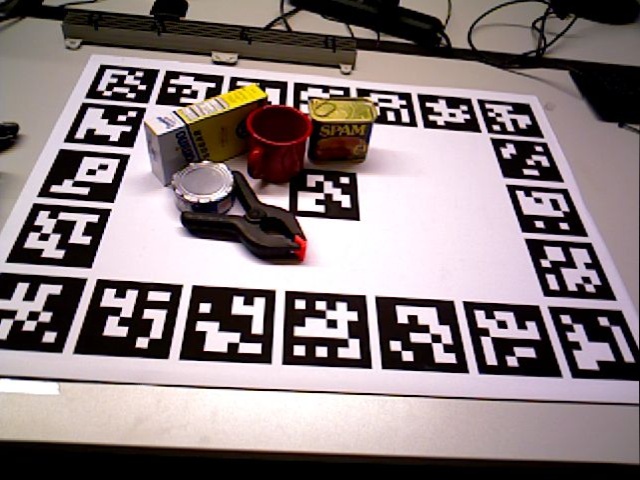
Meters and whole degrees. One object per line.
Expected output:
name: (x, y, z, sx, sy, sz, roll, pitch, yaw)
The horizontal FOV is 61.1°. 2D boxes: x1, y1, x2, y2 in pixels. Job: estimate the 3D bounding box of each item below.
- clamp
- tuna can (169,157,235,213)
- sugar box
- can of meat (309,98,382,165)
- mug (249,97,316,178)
clamp: (-0.082, -0.019, 0.710, 0.165, 0.037, 0.119, 34, 50, 14)
tuna can: (-0.159, -0.071, 0.734, 0.085, 0.034, 0.084, 3, 53, -5)
sugar box: (-0.153, -0.152, 0.770, 0.173, 0.095, 0.045, -27, 58, -28)
can of meat: (0.036, -0.161, 0.810, 0.101, 0.086, 0.057, -1, 50, -11)
mug: (-0.061, -0.135, 0.765, 0.093, 0.083, 0.114, 24, 53, 11)
